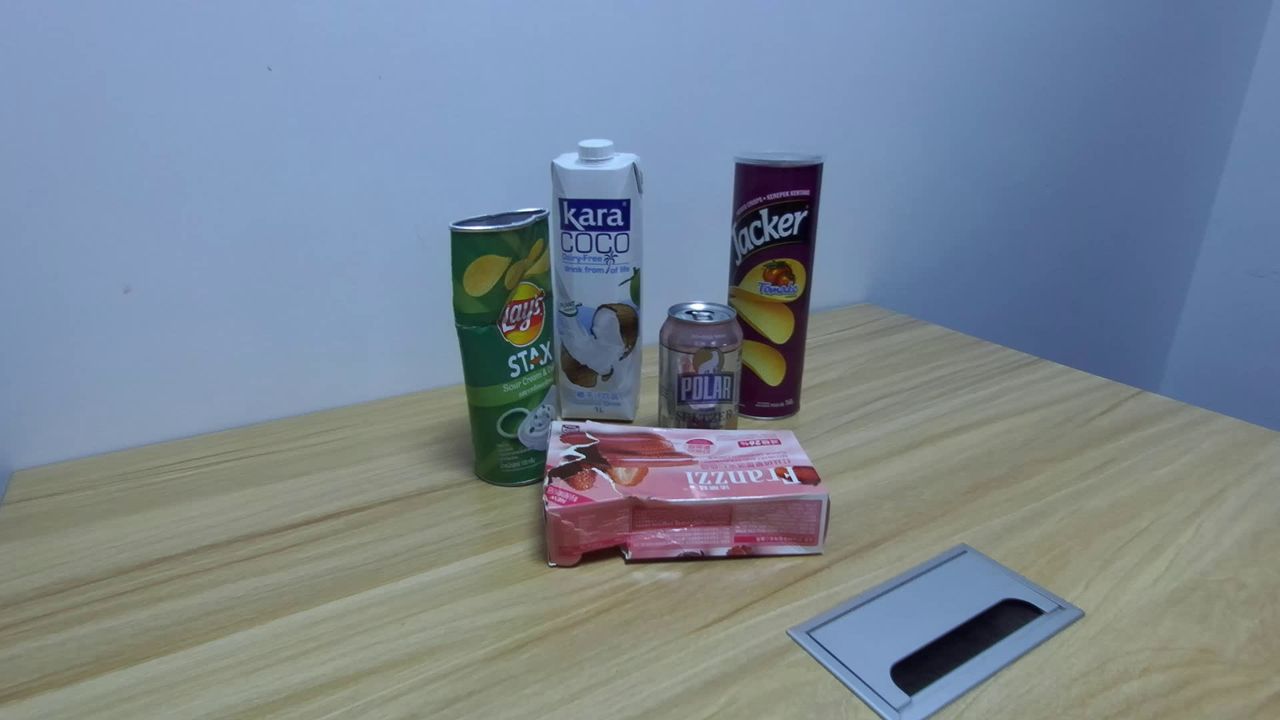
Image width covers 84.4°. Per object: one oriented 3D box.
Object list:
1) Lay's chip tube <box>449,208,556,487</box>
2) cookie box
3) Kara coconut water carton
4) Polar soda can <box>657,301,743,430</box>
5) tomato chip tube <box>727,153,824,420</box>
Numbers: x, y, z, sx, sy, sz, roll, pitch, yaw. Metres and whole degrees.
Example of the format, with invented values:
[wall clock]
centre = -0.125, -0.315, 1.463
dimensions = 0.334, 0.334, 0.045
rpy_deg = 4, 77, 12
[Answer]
[Lay's chip tube]
centre = -0.098, -0.007, 0.538
dimensions = 0.069, 0.199, 0.074
rpy_deg = -2, 21, -4
[cookie box]
centre = 0.028, 0.085, 0.489
dimensions = 0.186, 0.059, 0.105
rpy_deg = -1, 24, -5
[Kara coconut water carton]
centre = -0.035, -0.069, 0.631
dimensions = 0.077, 0.245, 0.075
rpy_deg = 2, 20, 6
[Polar soda can]
centre = 0.049, 0.017, 0.577
dimensions = 0.067, 0.125, 0.067
rpy_deg = 0, 22, 0
[tomato chip tube]
centre = 0.120, -0.066, 0.648
dimensions = 0.078, 0.234, 0.078
rpy_deg = 1, 20, 0
